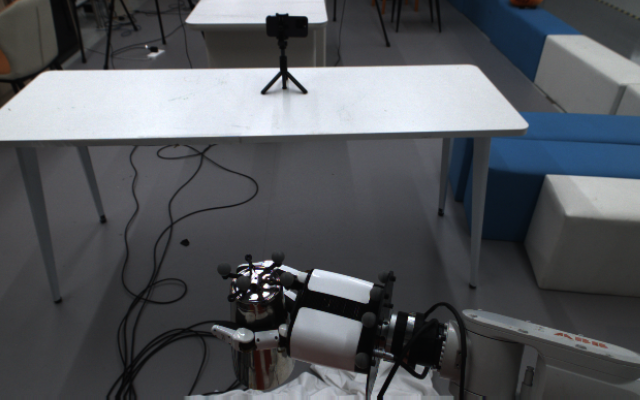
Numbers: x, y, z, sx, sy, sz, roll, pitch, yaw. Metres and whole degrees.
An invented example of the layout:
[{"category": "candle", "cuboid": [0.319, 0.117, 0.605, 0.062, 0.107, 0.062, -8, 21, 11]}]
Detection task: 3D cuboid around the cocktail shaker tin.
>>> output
[{"category": "cocktail shaker tin", "cuboid": [-0.078, 0.169, 0.664, 0.093, 0.170, 0.093, 1, 39, 0]}]
